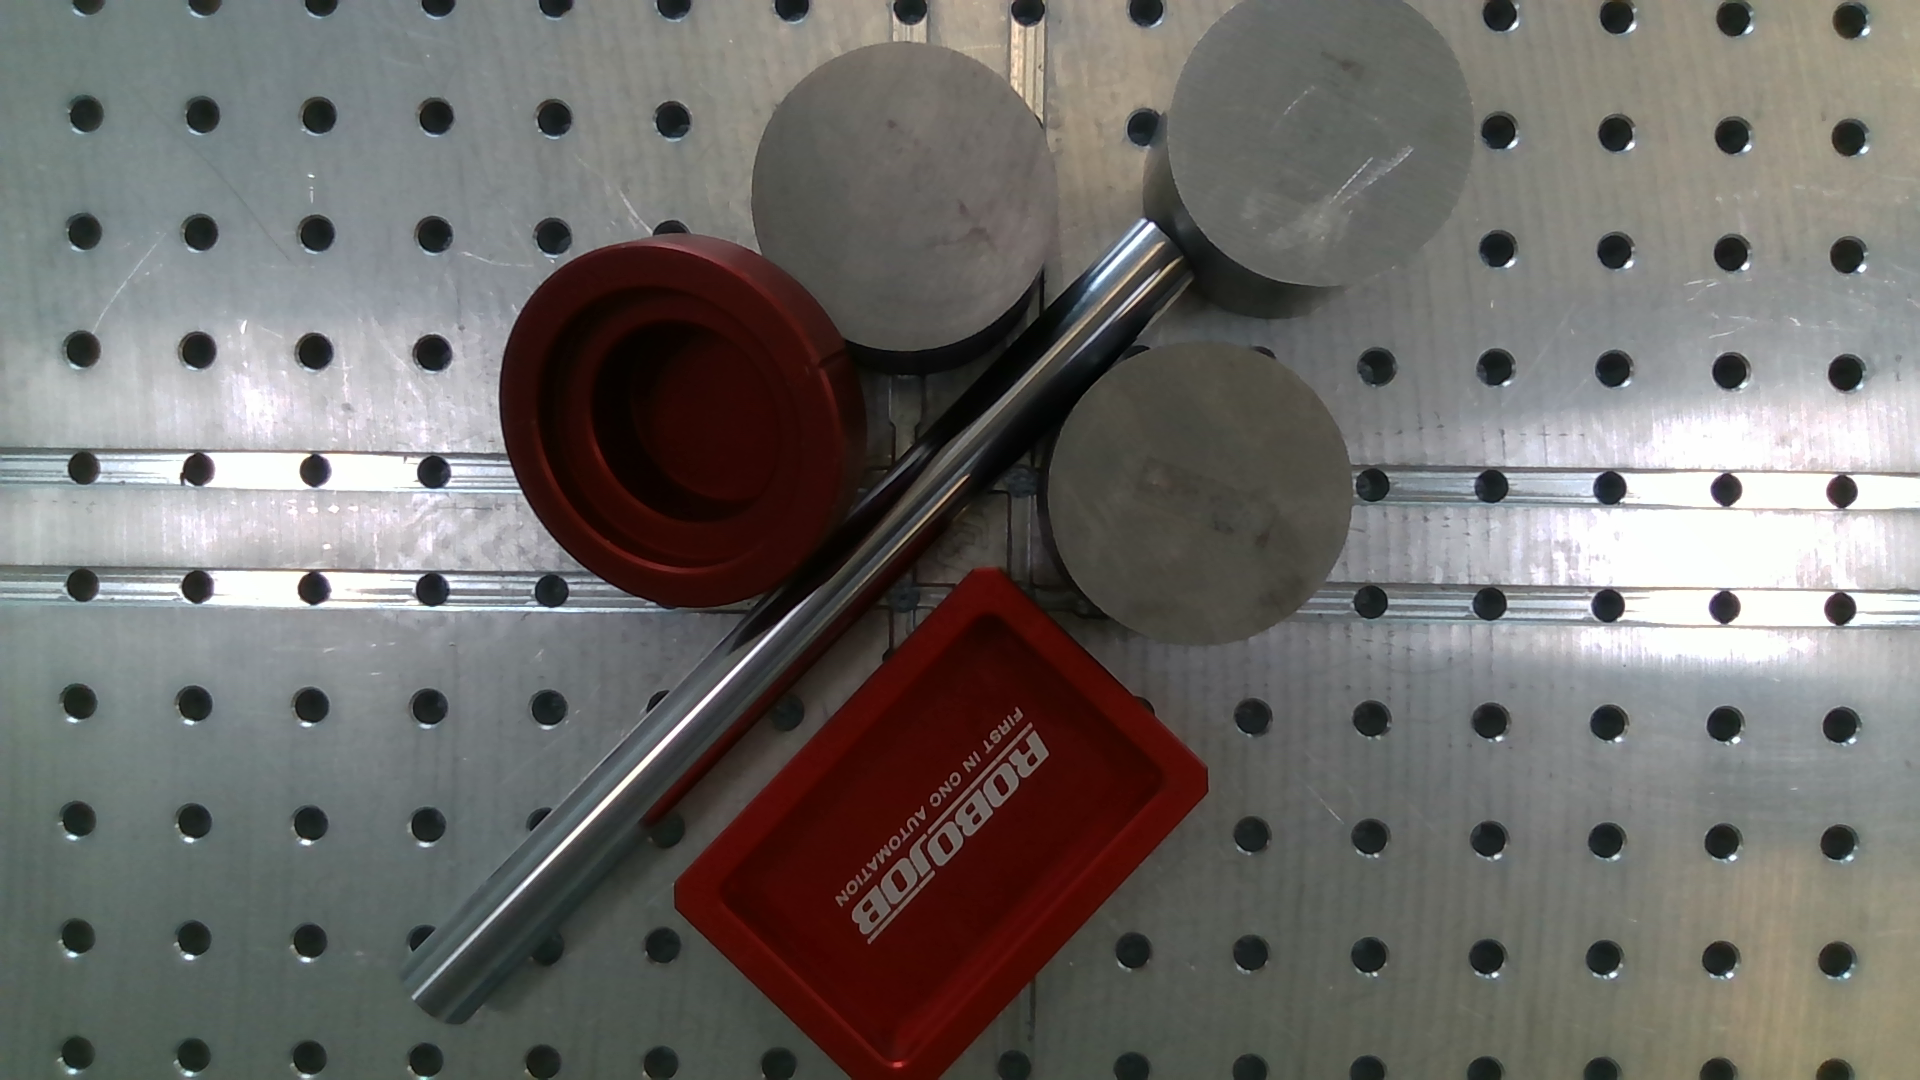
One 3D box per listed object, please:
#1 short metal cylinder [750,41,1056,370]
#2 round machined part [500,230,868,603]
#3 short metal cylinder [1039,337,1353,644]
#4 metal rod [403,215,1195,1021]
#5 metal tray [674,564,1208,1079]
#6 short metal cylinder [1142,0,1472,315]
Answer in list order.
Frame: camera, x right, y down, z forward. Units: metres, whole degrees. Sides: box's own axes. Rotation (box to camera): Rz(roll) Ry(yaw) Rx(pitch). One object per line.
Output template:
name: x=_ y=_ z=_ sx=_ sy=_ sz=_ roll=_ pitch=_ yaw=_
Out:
short metal cylinder: x=-0.015 y=-0.090 z=0.385 sx=0.080 sy=0.050 sz=0.080 roll=0 pitch=90 yaw=0
round machined part: x=-0.072 y=-0.036 z=0.378 sx=0.098 sy=0.042 sz=0.098 roll=5 pitch=109 yaw=14
short metal cylinder: x=0.063 y=-0.013 z=0.384 sx=0.080 sy=0.050 sz=0.080 roll=0 pitch=90 yaw=0
metal rod: x=-0.046 y=0.022 z=0.398 sx=0.025 sy=0.025 sz=0.300 roll=44 pitch=90 yaw=0
metal tray: x=-0.005 y=0.081 z=0.395 sx=0.090 sy=0.030 sz=0.130 roll=44 pitch=90 yaw=1
short metal cylinder: x=0.094 y=-0.107 z=0.385 sx=0.080 sy=0.050 sz=0.080 roll=0 pitch=90 yaw=0
